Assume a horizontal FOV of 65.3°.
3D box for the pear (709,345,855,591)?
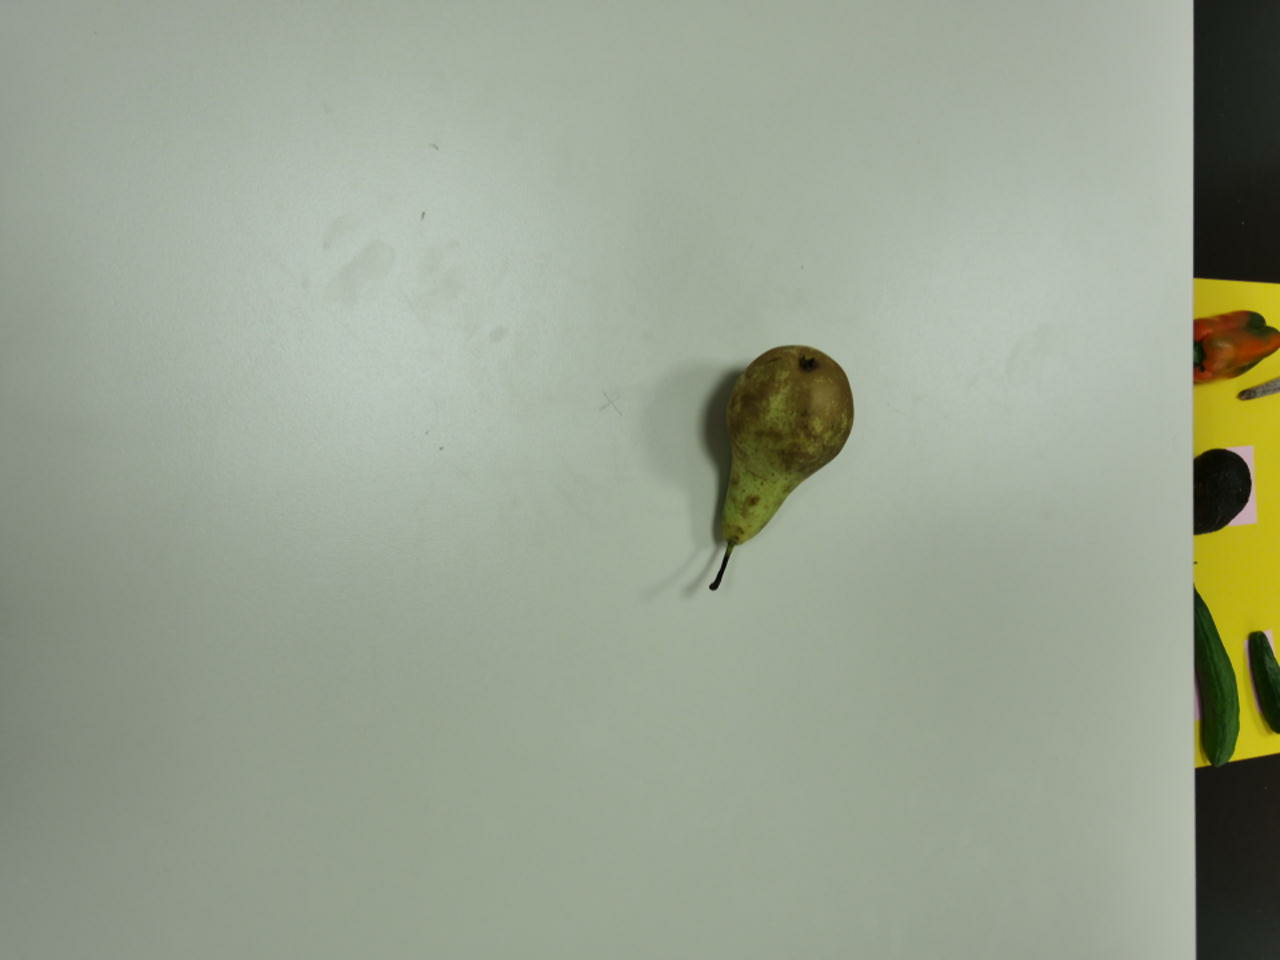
[{"bbox_3d":[0.082,-0.005,0.567,0.071,0.075,0.144,7,88,-22],"label":"pear"}]
